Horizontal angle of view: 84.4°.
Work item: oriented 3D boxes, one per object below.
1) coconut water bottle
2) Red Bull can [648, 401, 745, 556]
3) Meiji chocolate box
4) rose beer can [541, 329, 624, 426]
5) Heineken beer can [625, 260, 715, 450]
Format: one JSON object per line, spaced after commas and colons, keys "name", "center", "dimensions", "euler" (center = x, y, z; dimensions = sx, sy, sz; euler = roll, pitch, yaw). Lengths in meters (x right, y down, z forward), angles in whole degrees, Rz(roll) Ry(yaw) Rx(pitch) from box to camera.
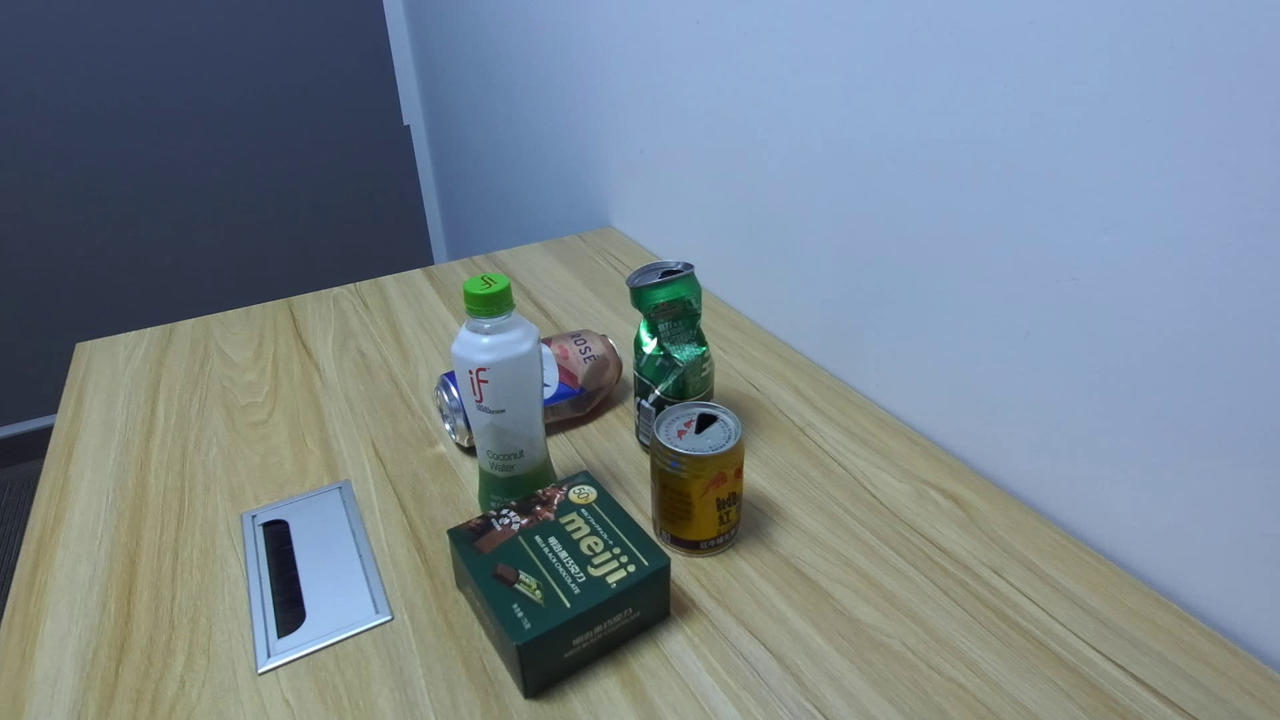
{"name": "coconut water bottle", "center": [-0.097, 0.031, 0.505], "dimensions": [0.063, 0.189, 0.063], "euler": [-2, 31, 1]}
{"name": "Red Bull can", "center": [0.040, 0.083, 0.502], "dimensions": [0.069, 0.092, 0.069], "euler": [-1, 33, 1]}
{"name": "Meiji chocolate box", "center": [-0.053, 0.138, 0.458], "dimensions": [0.109, 0.056, 0.109], "euler": [-20, 37, -28]}
{"name": "rose beer can", "center": [-0.098, 0.020, 0.641], "dimensions": [0.168, 0.069, 0.069], "euler": [-20, 22, -28]}
{"name": "Heineken beer can", "center": [0.027, 0.002, 0.576], "dimensions": [0.078, 0.159, 0.067], "euler": [10, 26, 35]}
